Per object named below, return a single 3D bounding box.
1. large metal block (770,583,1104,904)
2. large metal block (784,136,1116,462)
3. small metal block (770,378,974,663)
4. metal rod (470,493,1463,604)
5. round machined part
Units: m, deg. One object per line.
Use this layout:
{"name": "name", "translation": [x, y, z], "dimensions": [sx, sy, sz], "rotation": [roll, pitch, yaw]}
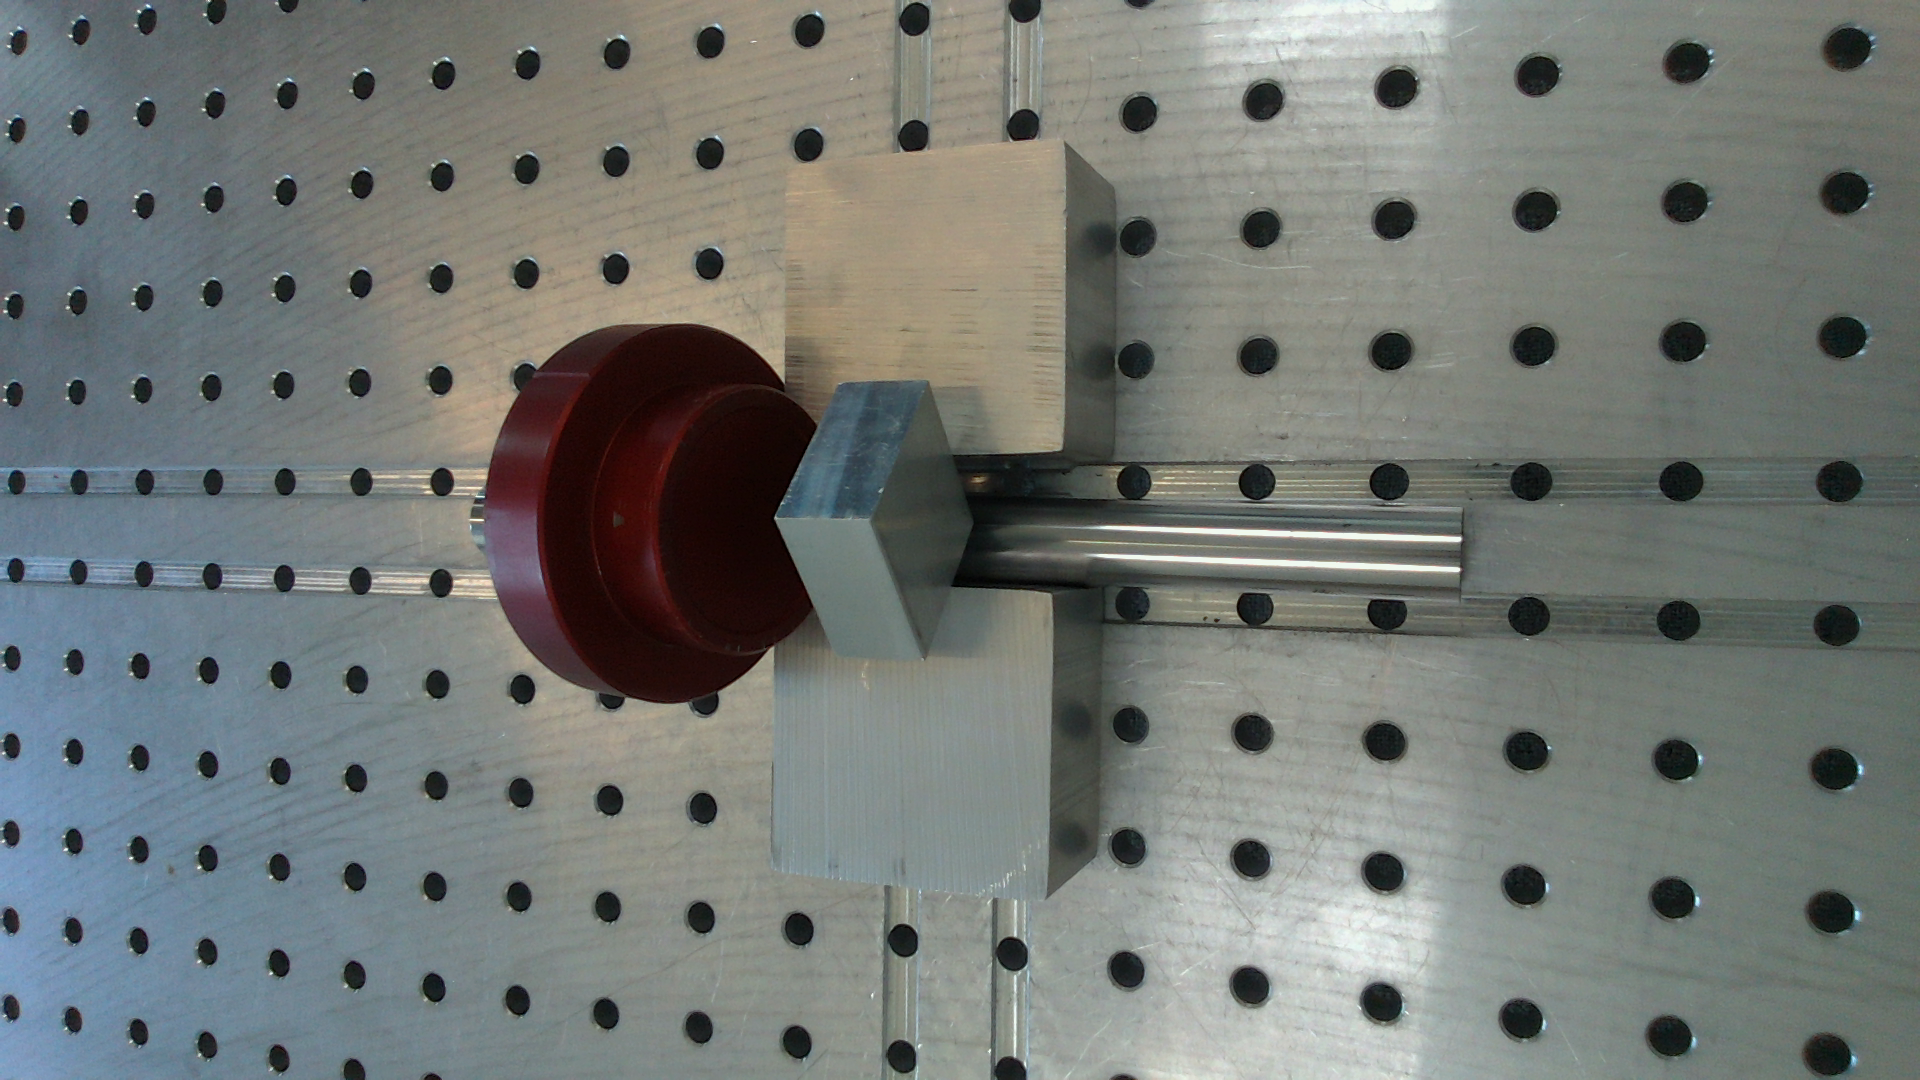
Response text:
{"name": "large metal block", "translation": [-0.005, 0.052, 0.387], "dimensions": [0.080, 0.050, 0.080], "rotation": [1, 91, 20]}
{"name": "large metal block", "translation": [-0.002, -0.063, 0.385], "dimensions": [0.080, 0.050, 0.080], "rotation": [1, 90, 20]}
{"name": "small metal block", "translation": [-0.020, -0.005, 0.345], "dimensions": [0.025, 0.050, 0.050], "rotation": [1, 46, 20]}
{"name": "metal rod", "translation": [-0.012, -0.001, 0.402], "dimensions": [0.299, 0.025, 0.025], "rotation": [2, 91, 20]}
{"name": "round machined part", "translation": [-0.068, -0.006, 0.353], "dimensions": [0.042, 0.098, 0.098], "rotation": [5, 92, 34]}
